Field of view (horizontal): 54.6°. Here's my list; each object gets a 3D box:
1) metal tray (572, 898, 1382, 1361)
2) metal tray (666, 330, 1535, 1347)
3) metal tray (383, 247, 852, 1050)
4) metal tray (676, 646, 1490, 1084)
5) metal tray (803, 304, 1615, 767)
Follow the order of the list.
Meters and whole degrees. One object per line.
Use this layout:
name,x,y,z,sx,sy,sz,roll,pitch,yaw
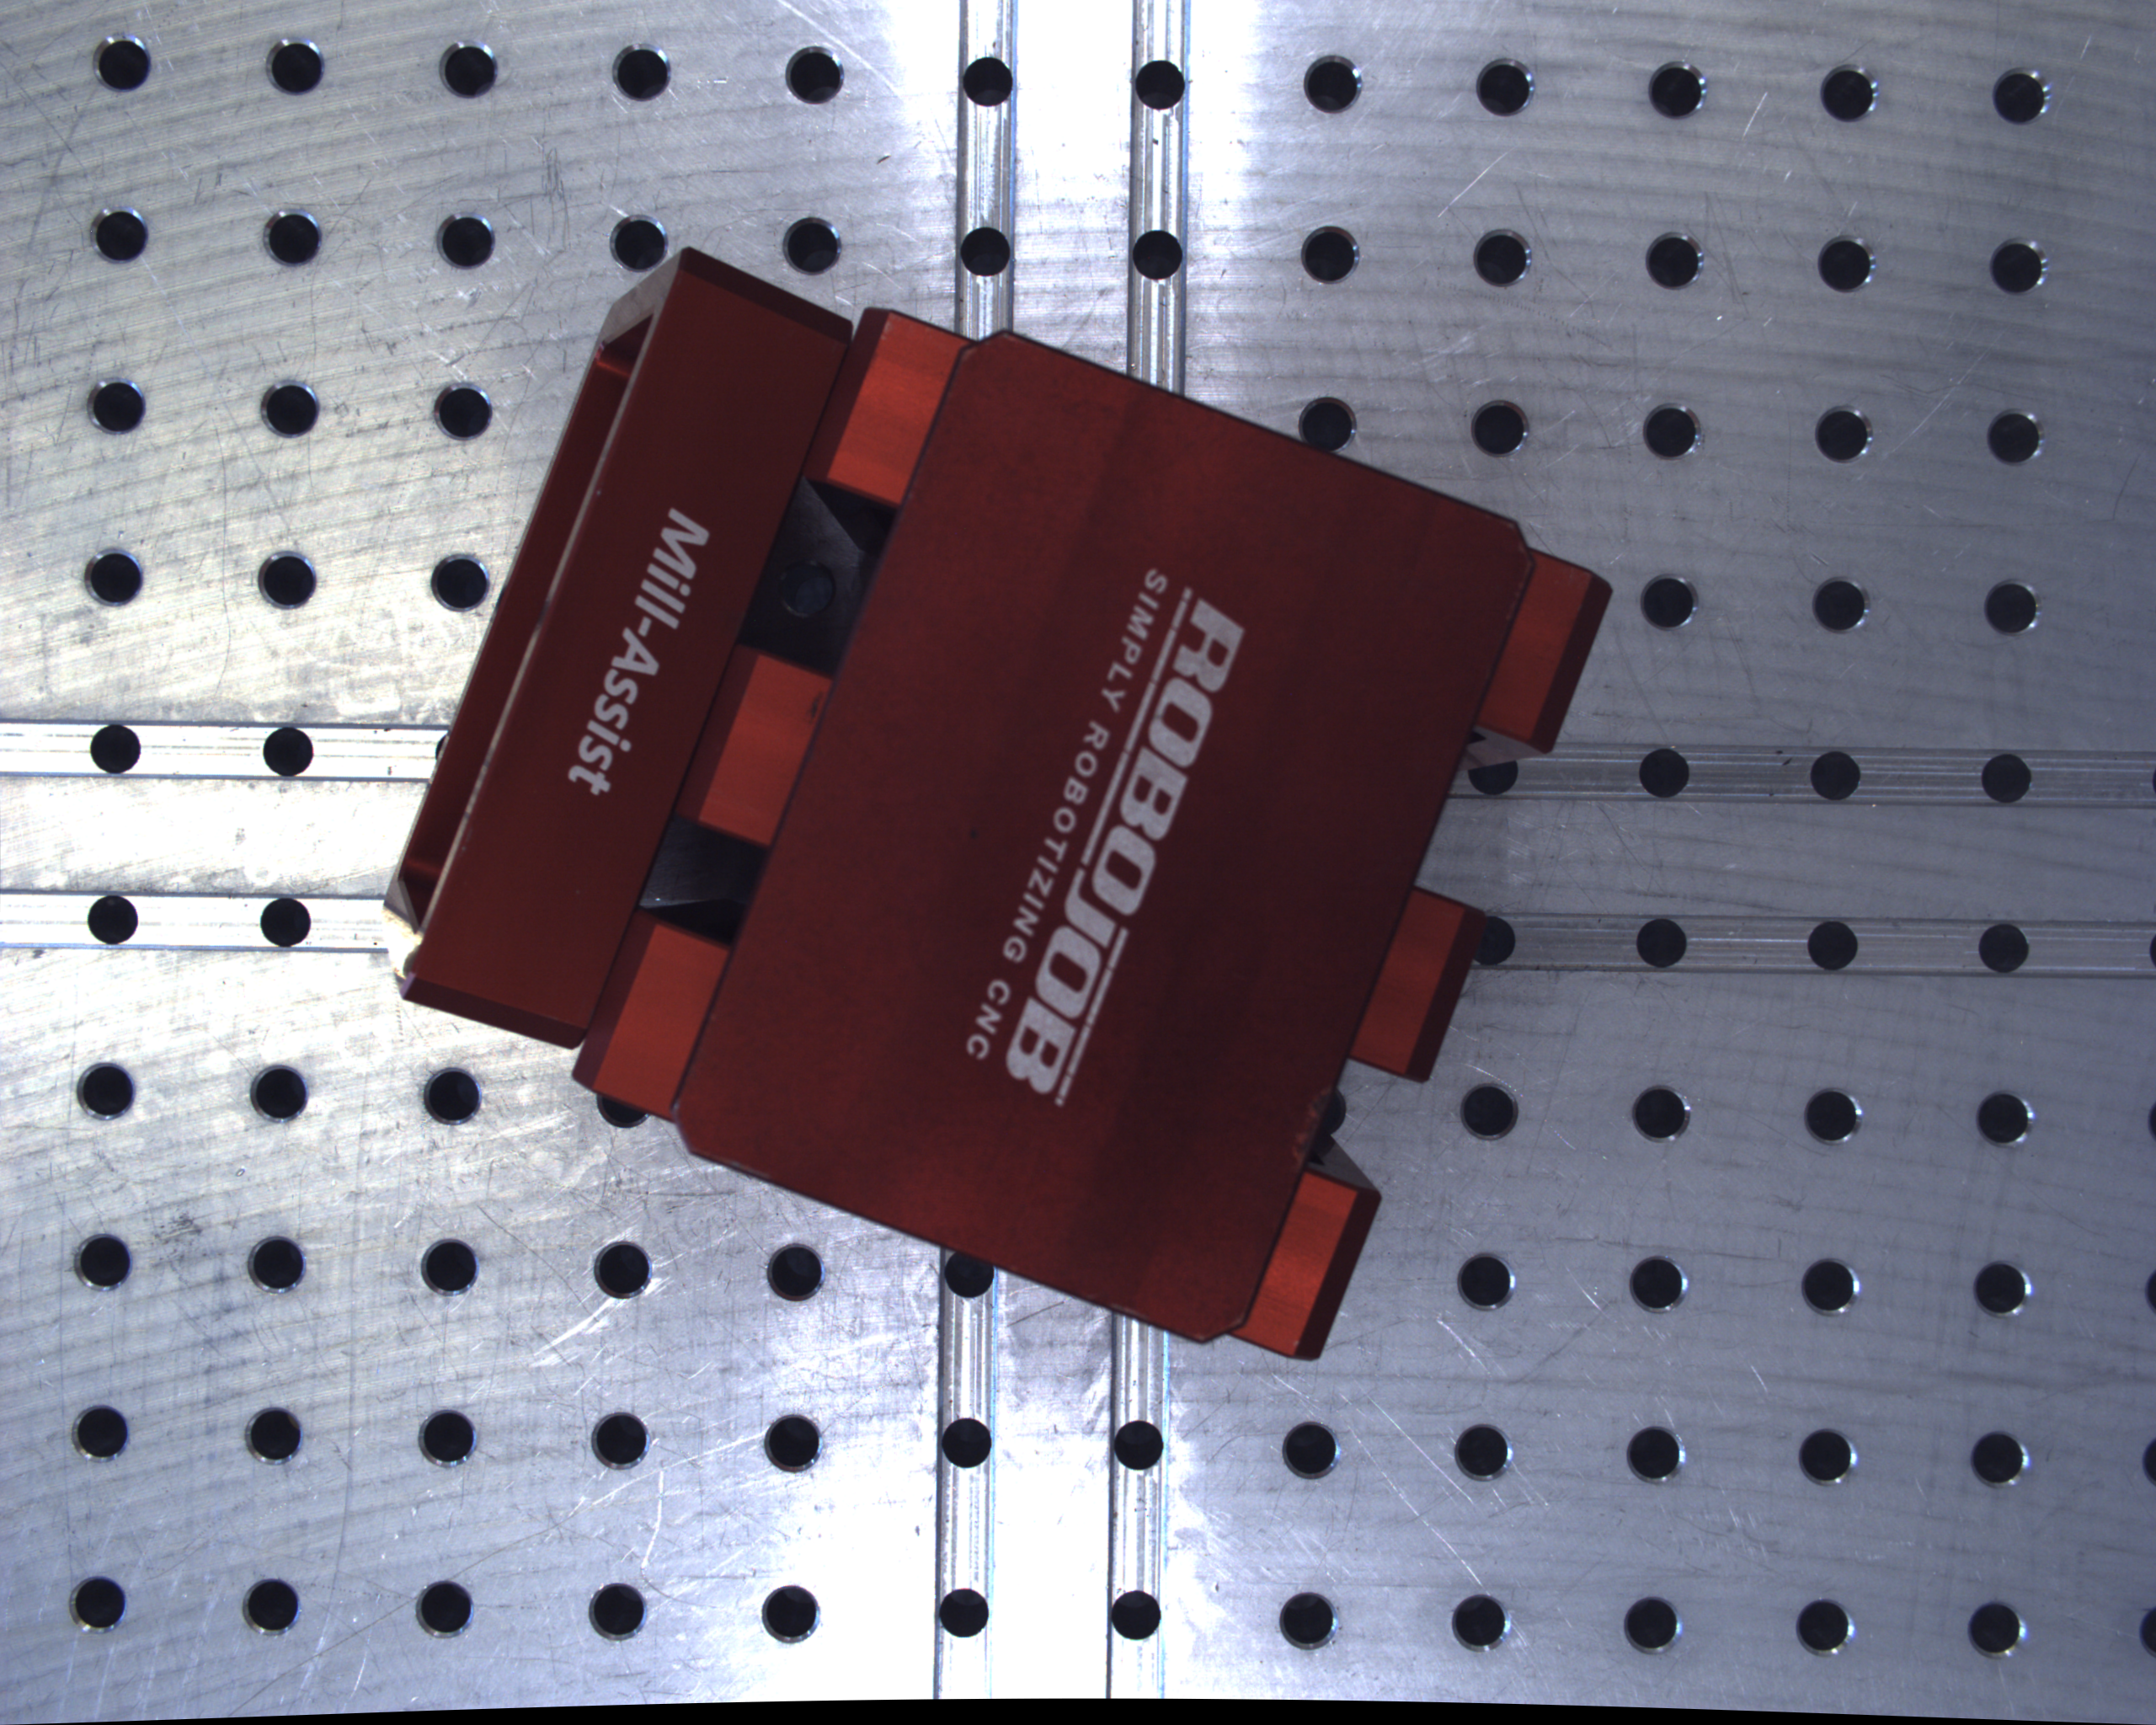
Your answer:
metal tray,-0.016,0.044,0.380,0.131,0.090,0.030,21,91,0
metal tray,0.003,-0.004,0.320,0.090,0.030,0.129,21,90,0
metal tray,-0.087,-0.039,0.378,0.030,0.090,0.129,21,90,-22
metal tray,0.000,0.001,0.380,0.131,0.090,0.030,20,89,-1
metal tray,0.022,-0.055,0.380,0.131,0.090,0.030,21,91,0
